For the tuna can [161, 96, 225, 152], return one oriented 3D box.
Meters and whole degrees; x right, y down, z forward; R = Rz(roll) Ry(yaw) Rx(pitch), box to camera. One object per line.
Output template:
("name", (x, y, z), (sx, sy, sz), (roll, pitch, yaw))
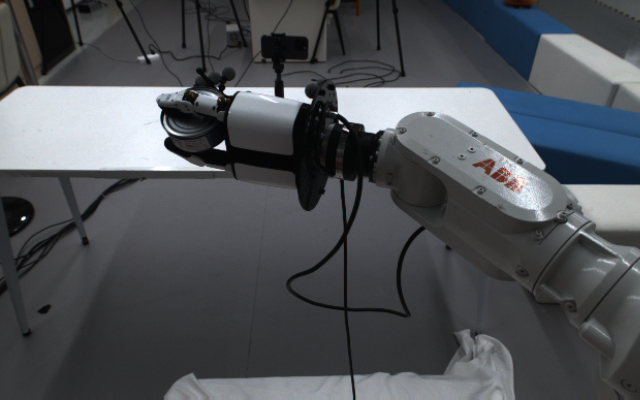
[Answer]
("tuna can", (-0.157, -0.104, 0.623), (0.085, 0.034, 0.085), (-4, 56, 6))
